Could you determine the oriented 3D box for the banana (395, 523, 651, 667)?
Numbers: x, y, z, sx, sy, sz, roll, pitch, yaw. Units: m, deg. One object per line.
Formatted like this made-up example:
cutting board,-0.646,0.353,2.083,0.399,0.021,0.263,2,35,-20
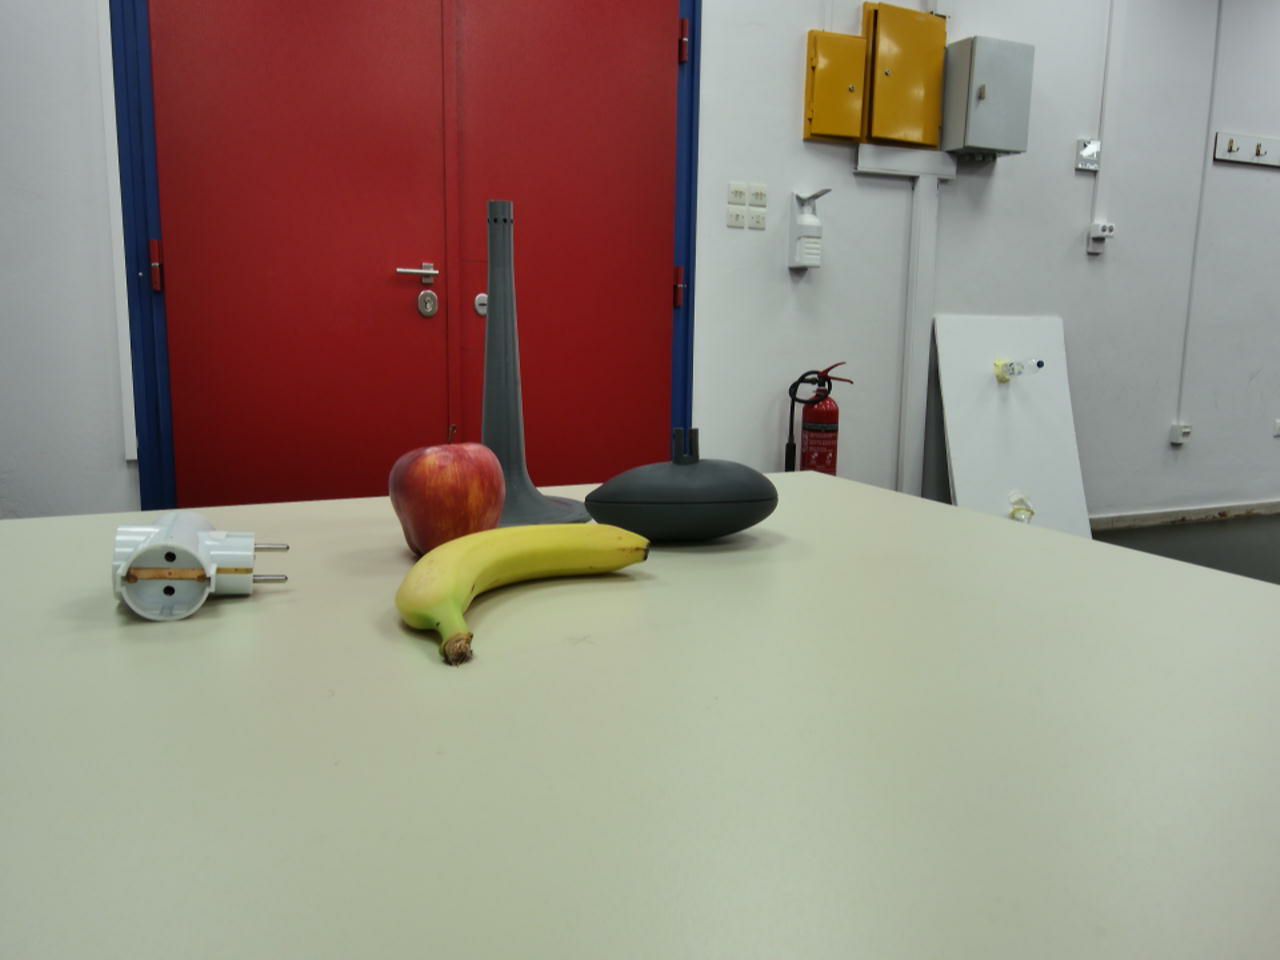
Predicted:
banana,-0.078,0.053,0.574,0.094,0.041,0.196,5,8,29
